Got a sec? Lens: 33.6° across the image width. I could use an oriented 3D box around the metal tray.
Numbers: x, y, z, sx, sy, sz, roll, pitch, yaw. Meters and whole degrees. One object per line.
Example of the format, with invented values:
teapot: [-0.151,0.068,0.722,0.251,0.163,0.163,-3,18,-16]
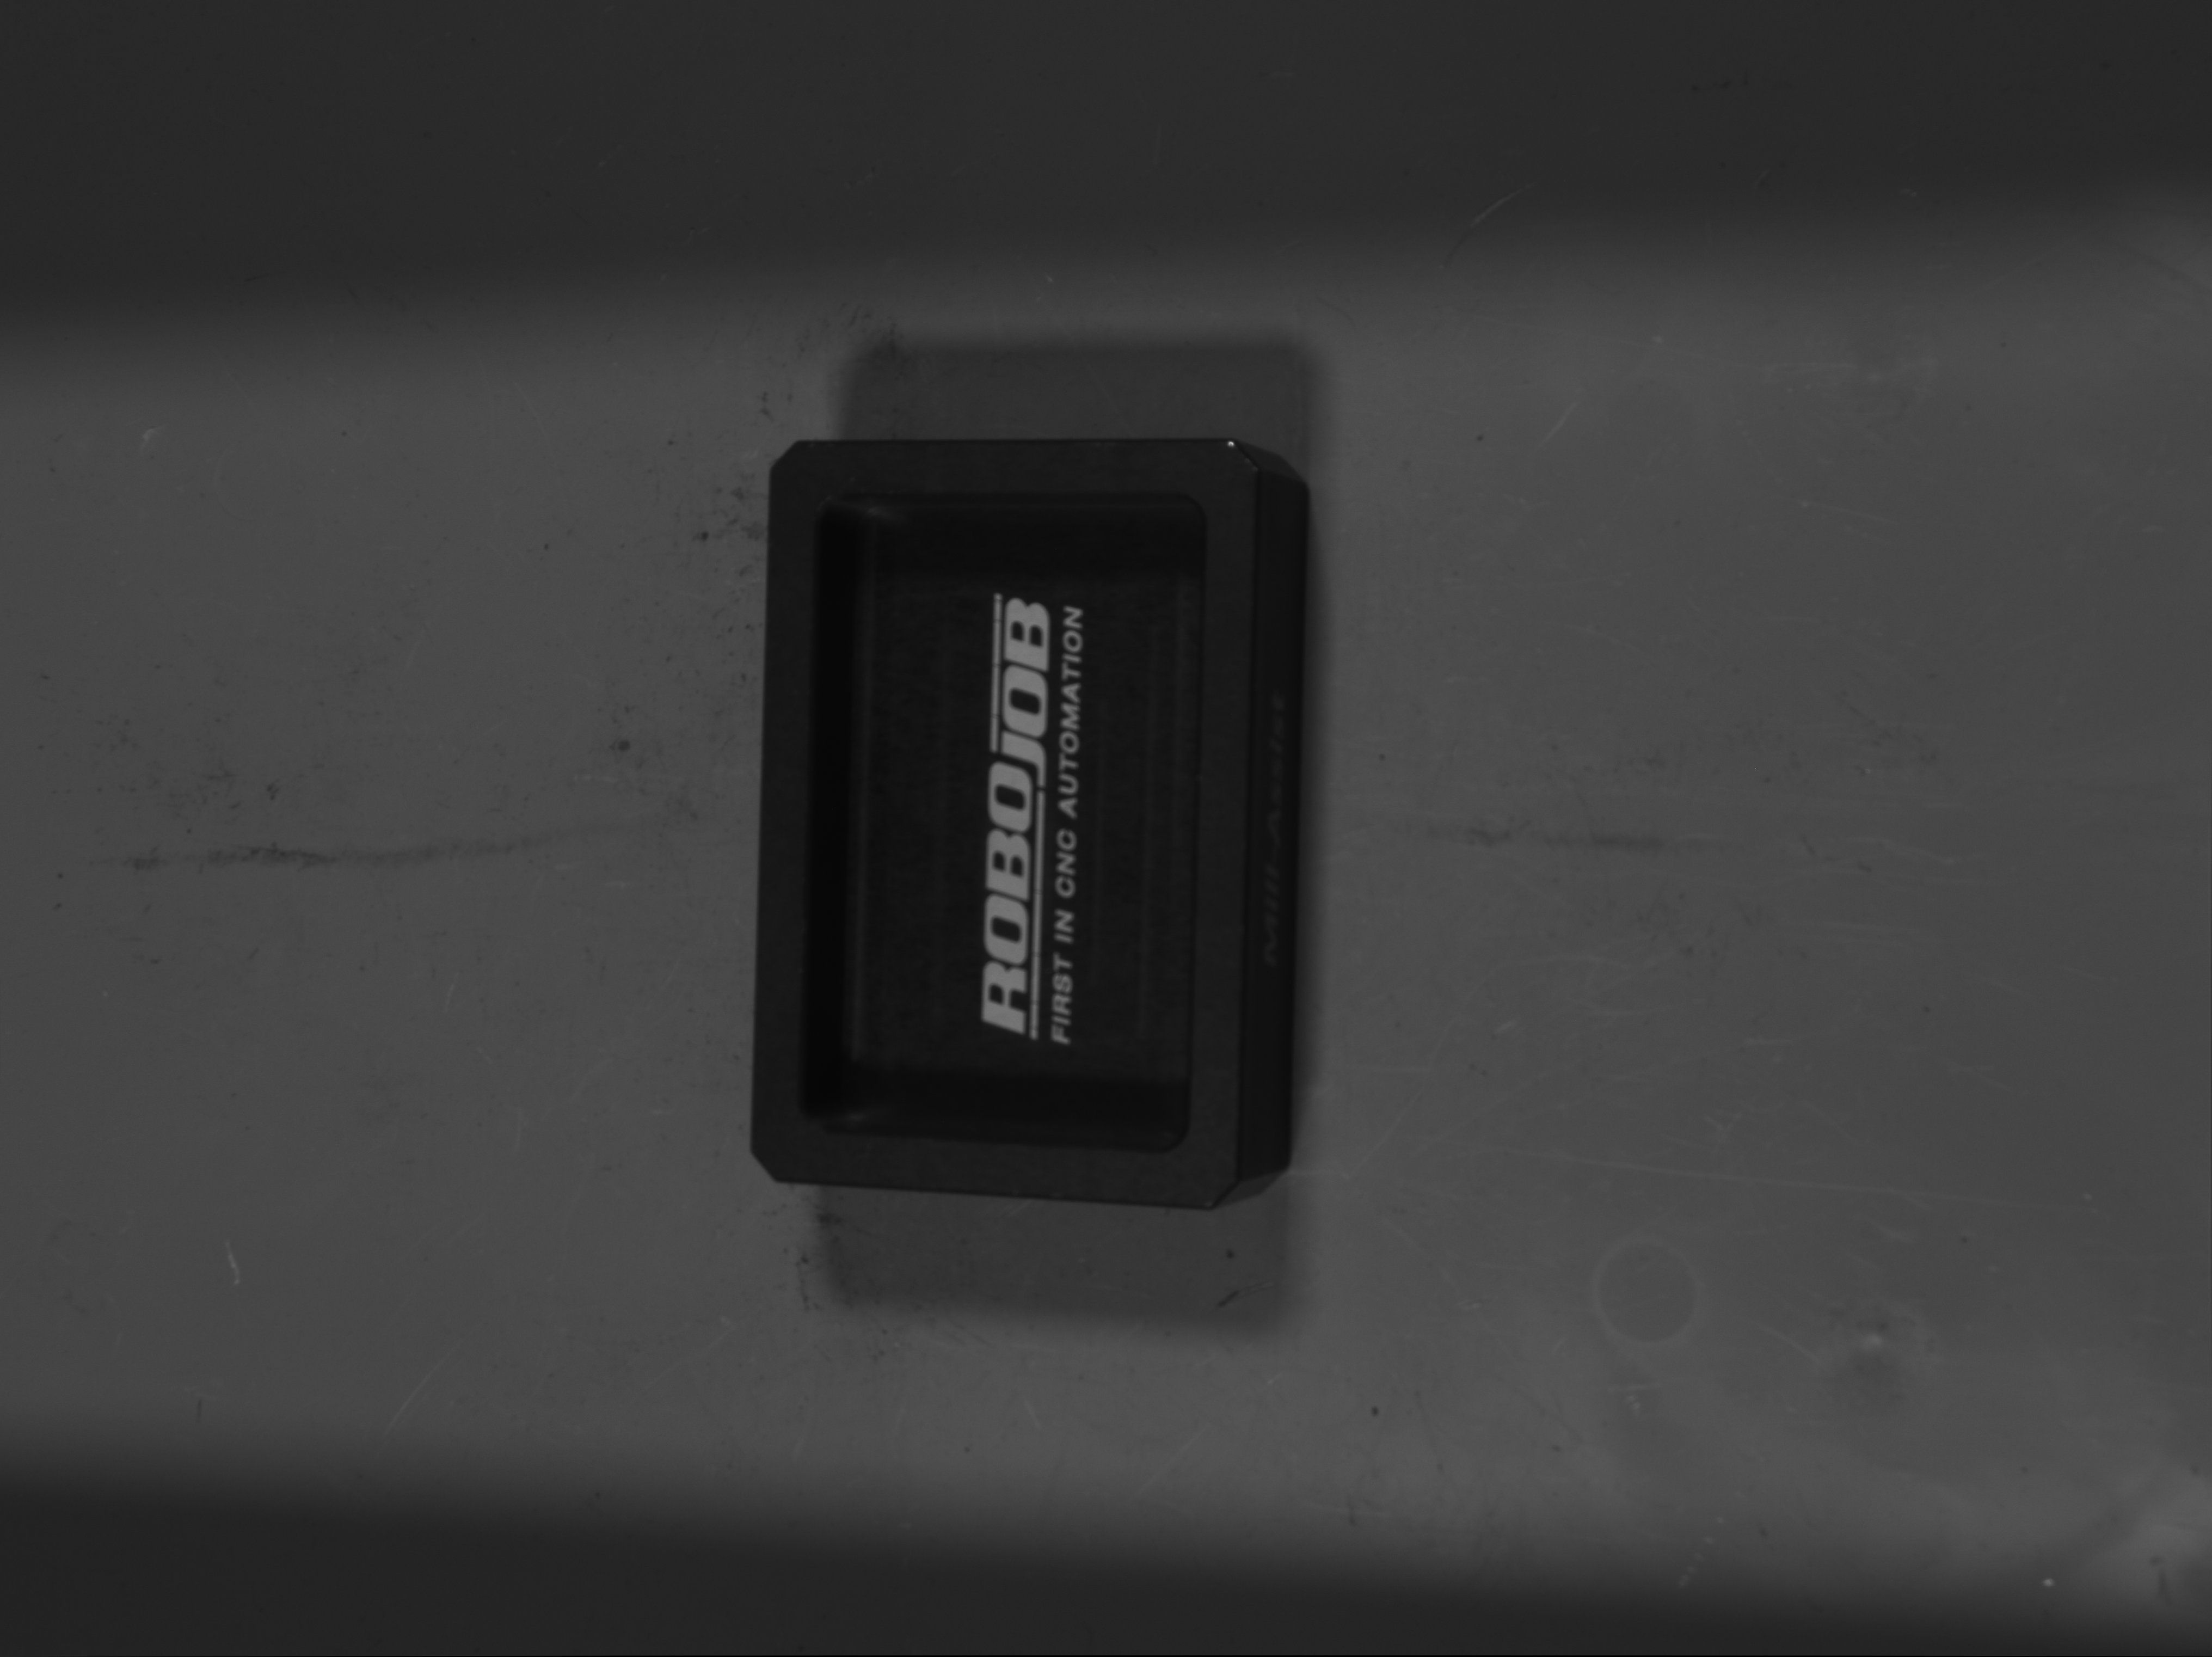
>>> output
metal tray: [-0.009,-0.001,0.642,0.090,0.030,0.130,2,90,19]
